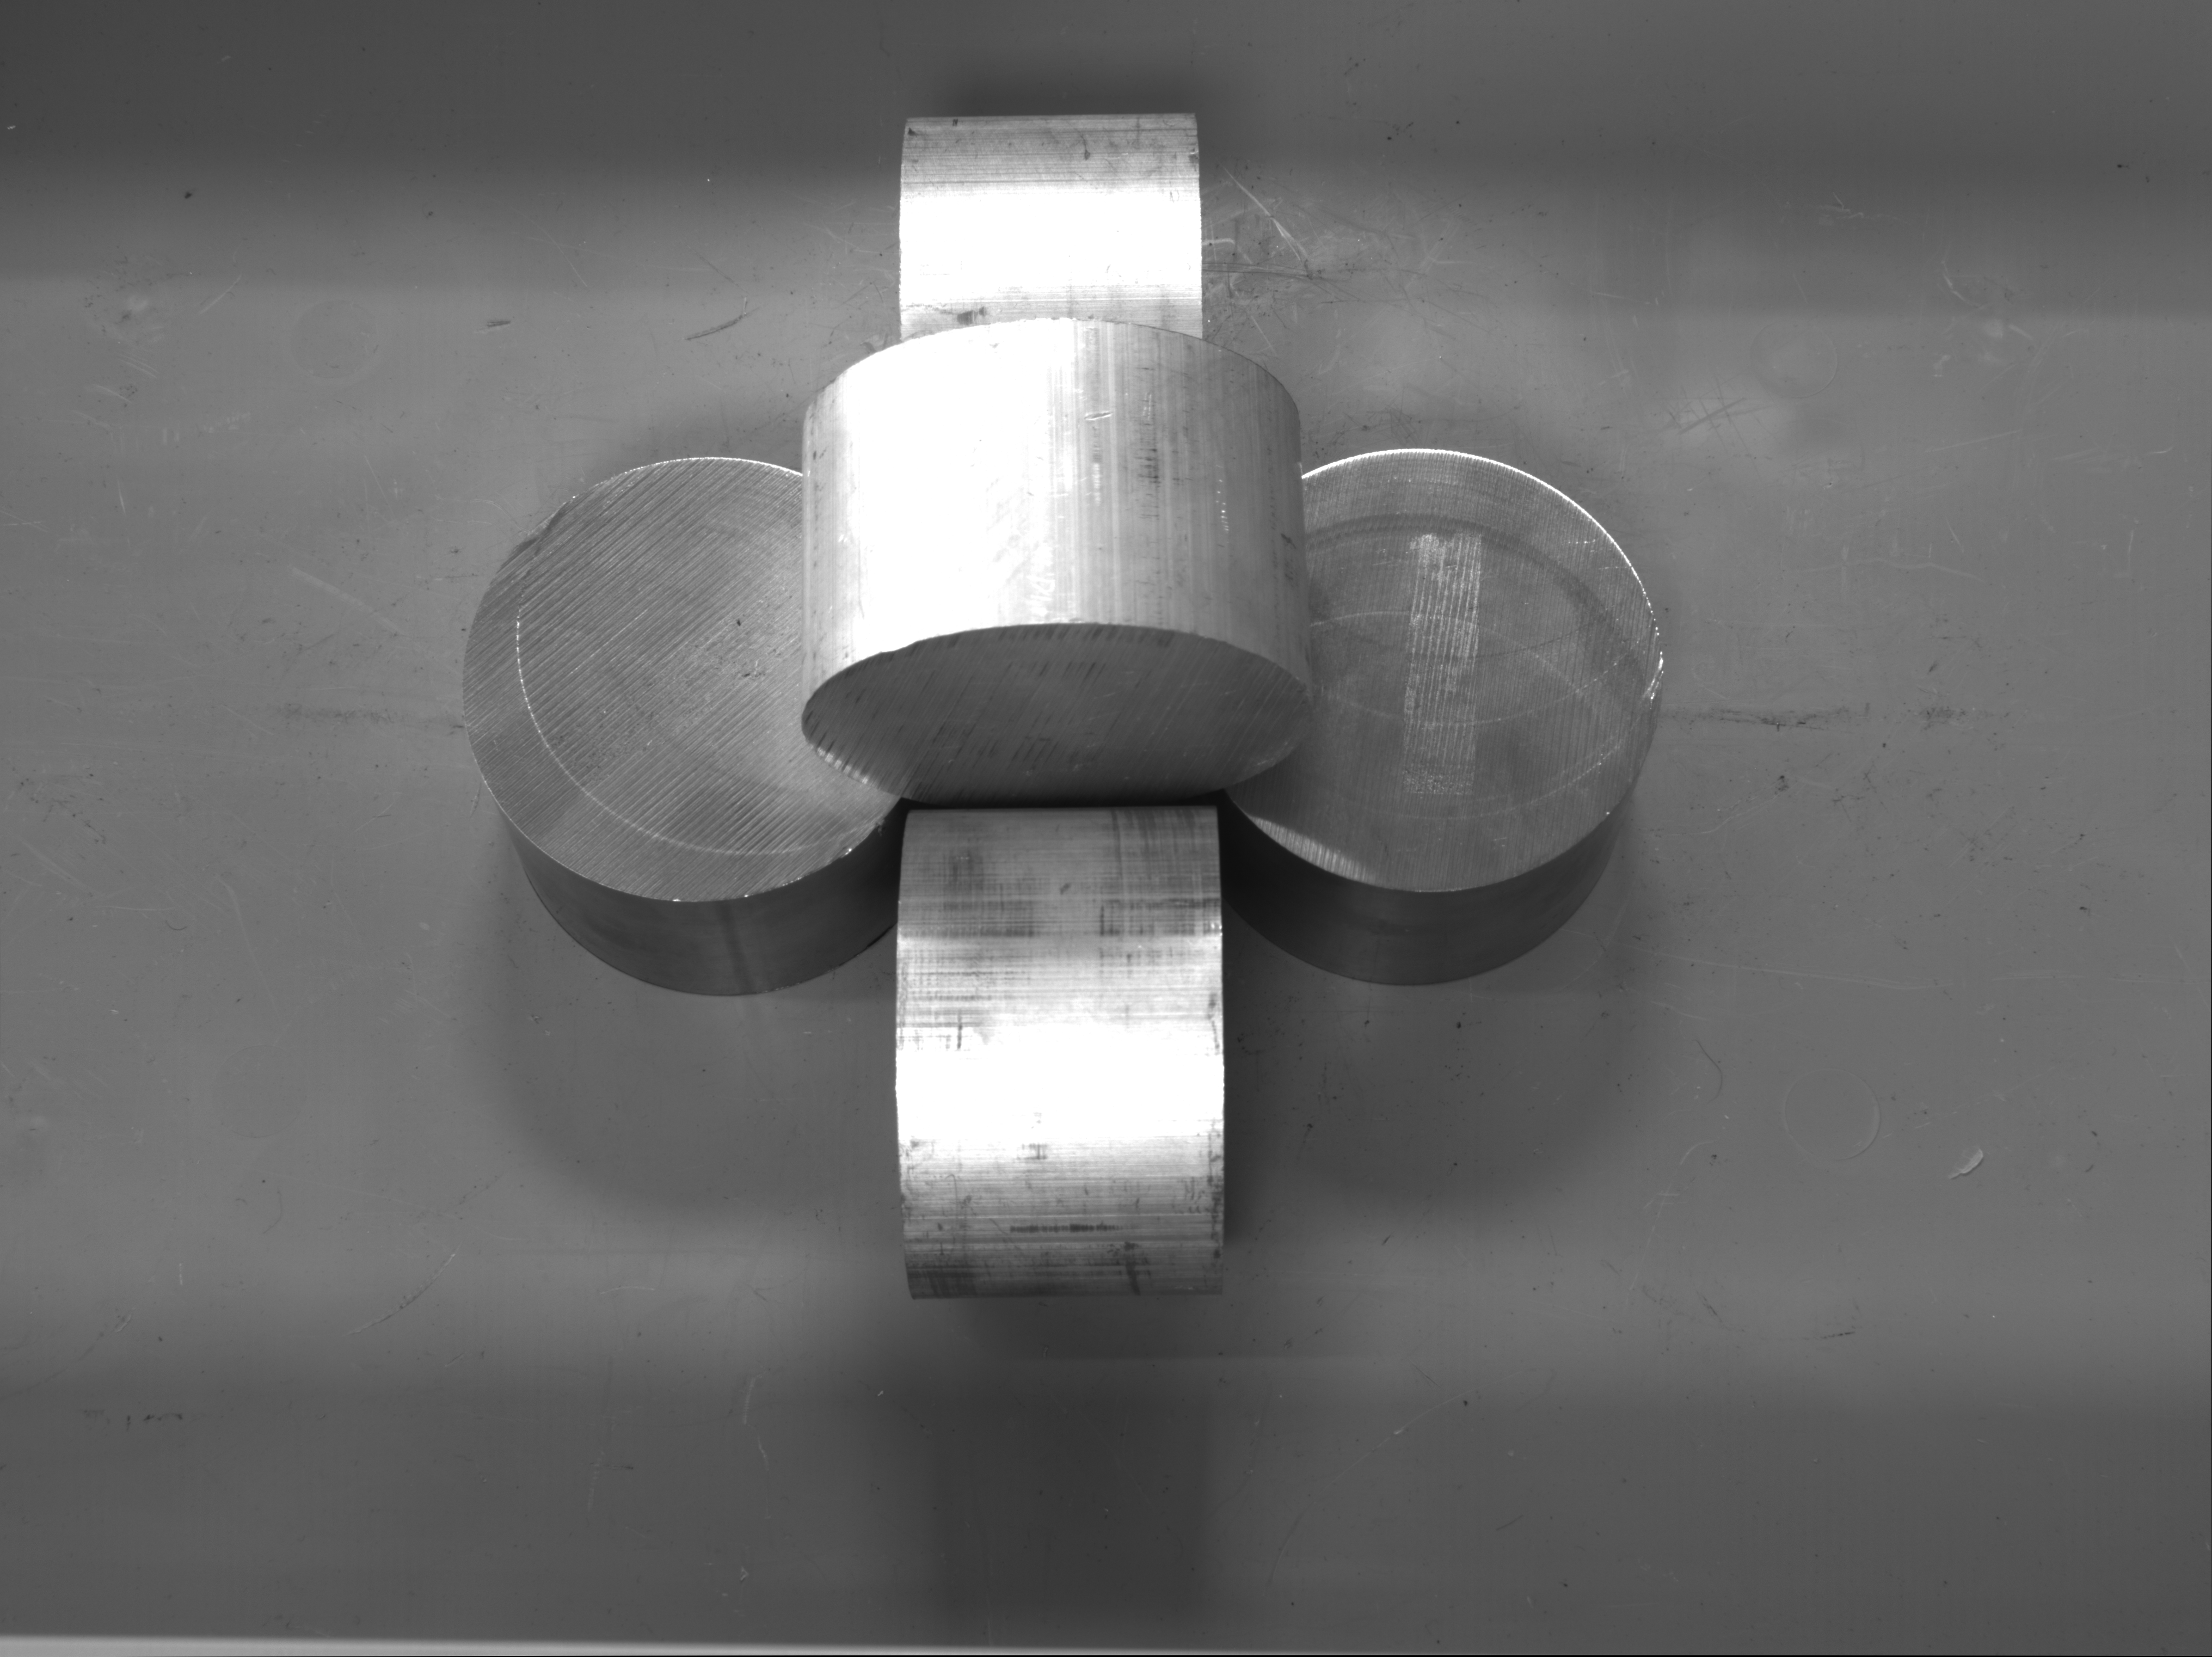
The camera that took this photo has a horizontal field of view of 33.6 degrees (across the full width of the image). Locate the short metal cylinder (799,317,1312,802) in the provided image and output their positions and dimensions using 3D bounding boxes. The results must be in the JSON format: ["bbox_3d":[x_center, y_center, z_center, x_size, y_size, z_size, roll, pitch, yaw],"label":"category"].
[{"bbox_3d":[-0.008,-0.040,0.582,0.080,0.080,0.050,-1,69,0],"label":"short metal cylinder"}]

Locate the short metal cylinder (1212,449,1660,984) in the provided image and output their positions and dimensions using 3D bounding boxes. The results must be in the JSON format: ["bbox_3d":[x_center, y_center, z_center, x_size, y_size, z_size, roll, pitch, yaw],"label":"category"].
[{"bbox_3d":[0.053,-0.019,0.636,0.080,0.050,0.080,0,70,0],"label":"short metal cylinder"}]

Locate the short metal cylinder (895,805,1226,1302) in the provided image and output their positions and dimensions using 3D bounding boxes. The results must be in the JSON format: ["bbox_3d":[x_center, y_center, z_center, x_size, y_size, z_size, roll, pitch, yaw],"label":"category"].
[{"bbox_3d":[-0.007,0.036,0.600,0.050,0.080,0.080,-2,70,-1],"label":"short metal cylinder"}]

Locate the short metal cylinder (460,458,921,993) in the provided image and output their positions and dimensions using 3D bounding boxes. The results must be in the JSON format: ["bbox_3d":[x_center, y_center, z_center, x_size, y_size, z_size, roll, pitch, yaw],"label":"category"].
[{"bbox_3d":[-0.068,-0.017,0.636,0.080,0.050,0.080,0,70,0],"label":"short metal cylinder"}]

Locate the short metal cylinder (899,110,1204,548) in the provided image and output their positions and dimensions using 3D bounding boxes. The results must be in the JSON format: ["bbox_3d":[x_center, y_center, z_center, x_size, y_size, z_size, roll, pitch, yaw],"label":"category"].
[{"bbox_3d":[-0.009,-0.085,0.645,0.050,0.080,0.080,-2,70,-1],"label":"short metal cylinder"}]
